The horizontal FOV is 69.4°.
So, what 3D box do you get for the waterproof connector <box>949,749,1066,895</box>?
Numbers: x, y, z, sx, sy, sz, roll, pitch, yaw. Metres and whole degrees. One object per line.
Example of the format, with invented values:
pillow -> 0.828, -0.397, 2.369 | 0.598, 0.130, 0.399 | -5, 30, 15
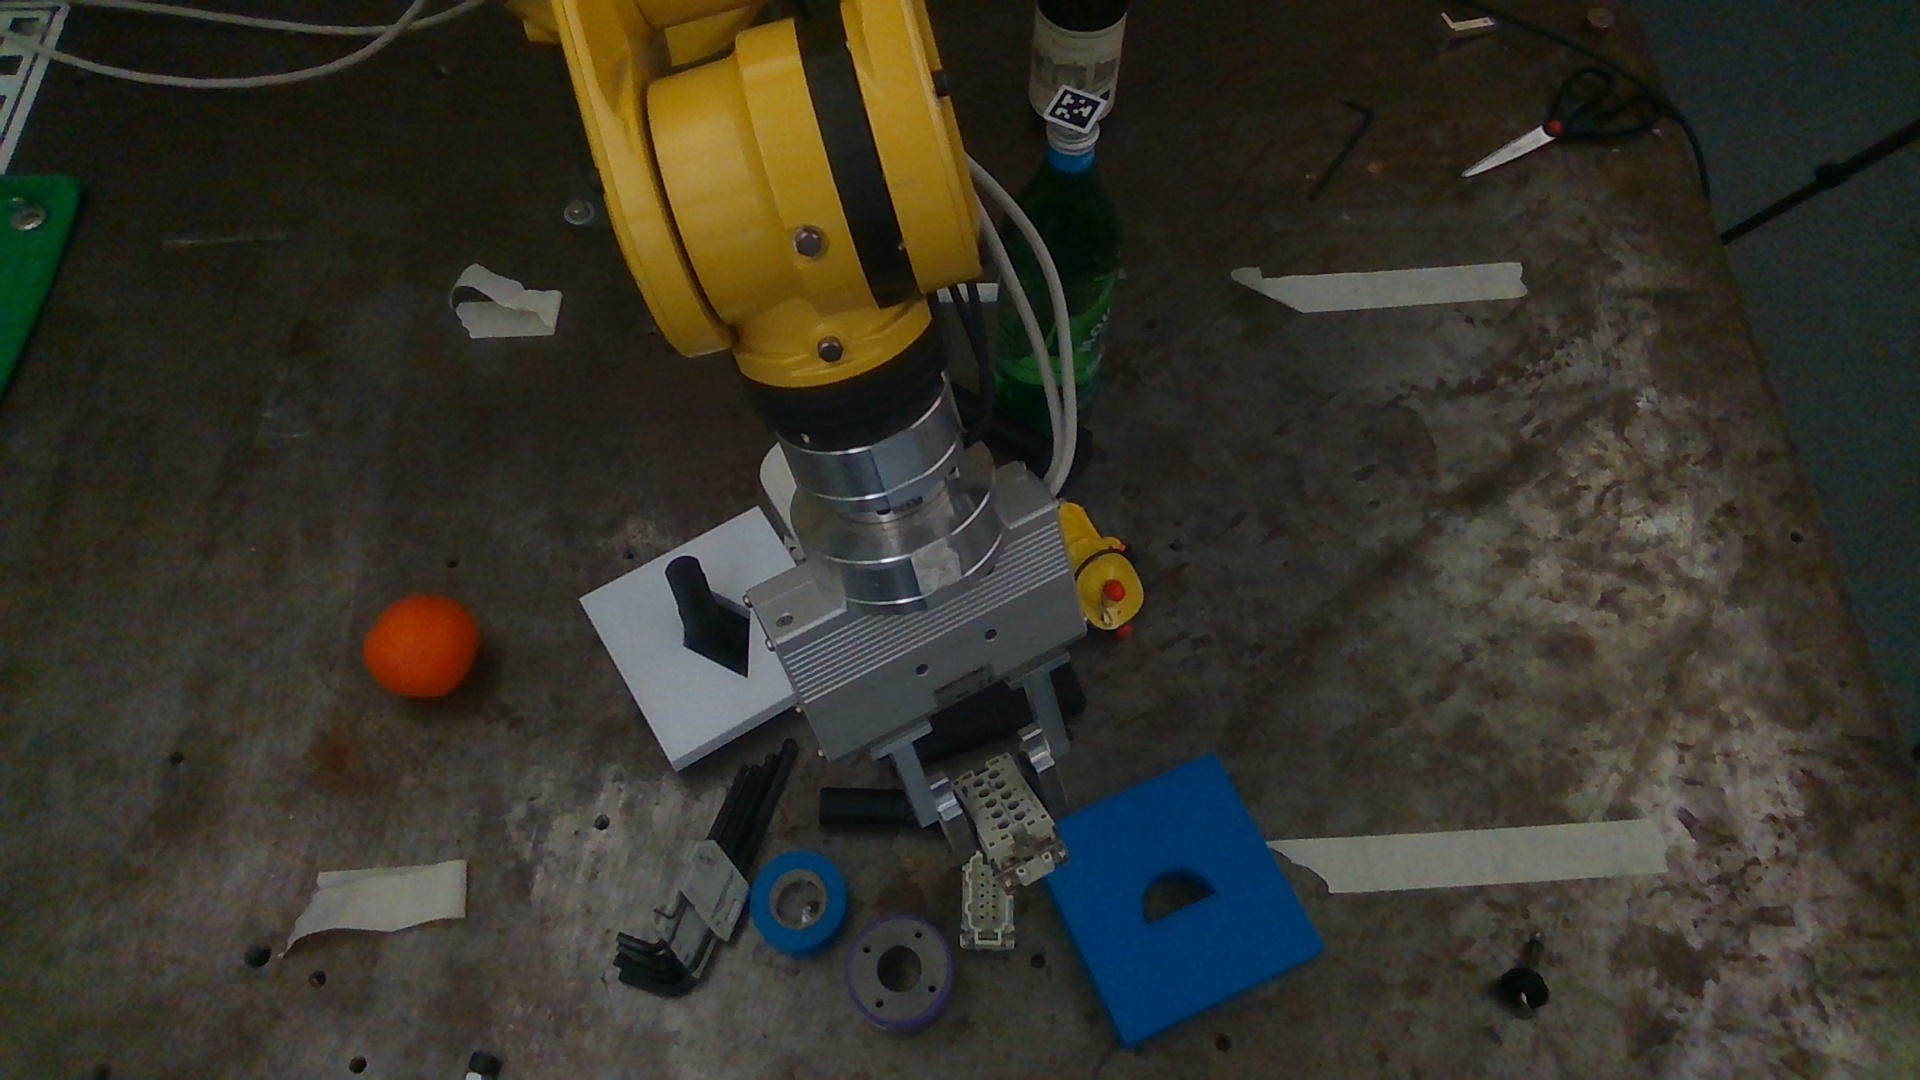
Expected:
waterproof connector -> 0.022, 0.132, 0.659 | 0.036, 0.038, 0.069 | -27, 43, -6
